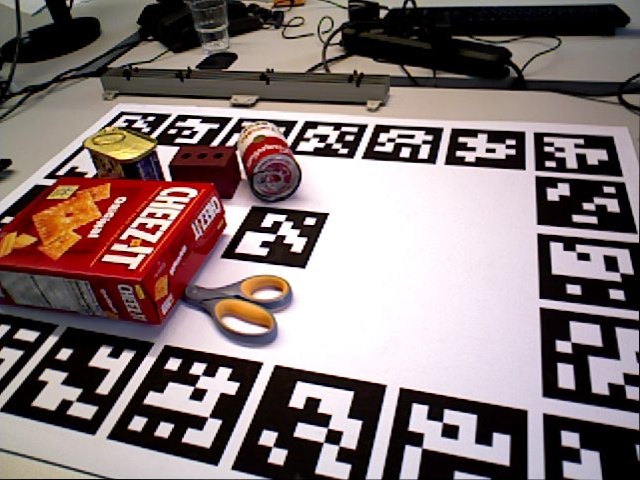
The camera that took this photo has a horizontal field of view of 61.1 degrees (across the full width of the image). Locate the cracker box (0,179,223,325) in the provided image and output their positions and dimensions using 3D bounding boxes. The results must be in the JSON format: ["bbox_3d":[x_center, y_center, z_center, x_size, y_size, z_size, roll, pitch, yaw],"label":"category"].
[{"bbox_3d":[-0.232,0.006,0.579,0.214,0.073,0.161,-1,41,14],"label":"cracker box"}]

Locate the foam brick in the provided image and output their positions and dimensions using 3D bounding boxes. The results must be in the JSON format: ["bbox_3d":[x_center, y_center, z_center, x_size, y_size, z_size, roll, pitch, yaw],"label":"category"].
[{"bbox_3d":[-0.147,-0.083,0.703,0.078,0.052,0.052,-2,43,7],"label":"foam brick"}]

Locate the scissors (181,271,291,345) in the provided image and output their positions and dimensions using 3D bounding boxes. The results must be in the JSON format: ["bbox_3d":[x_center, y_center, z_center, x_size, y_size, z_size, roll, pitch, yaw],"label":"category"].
[{"bbox_3d":[-0.127,0.063,0.545,0.203,0.016,0.086,2,43,12],"label":"scissors"}]

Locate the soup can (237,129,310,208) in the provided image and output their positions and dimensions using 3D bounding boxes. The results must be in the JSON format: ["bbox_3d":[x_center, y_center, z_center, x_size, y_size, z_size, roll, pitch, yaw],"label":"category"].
[{"bbox_3d":[-0.062,-0.095,0.699,0.067,0.069,0.101,-20,38,-13],"label":"soup can"}]

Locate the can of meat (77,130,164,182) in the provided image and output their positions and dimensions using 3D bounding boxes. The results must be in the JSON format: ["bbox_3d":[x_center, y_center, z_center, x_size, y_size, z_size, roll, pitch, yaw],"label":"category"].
[{"bbox_3d":[-0.248,-0.085,0.693,0.102,0.085,0.056,16,47,24],"label":"can of meat"}]
